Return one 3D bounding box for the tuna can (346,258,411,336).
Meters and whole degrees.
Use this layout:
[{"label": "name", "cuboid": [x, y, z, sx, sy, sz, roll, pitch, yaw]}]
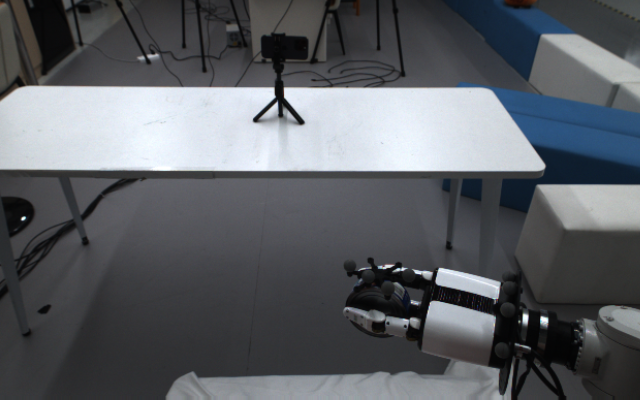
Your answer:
[{"label": "tuna can", "cuboid": [0.084, 0.142, 0.665, 0.085, 0.085, 0.034, 13, 29, 16]}]
